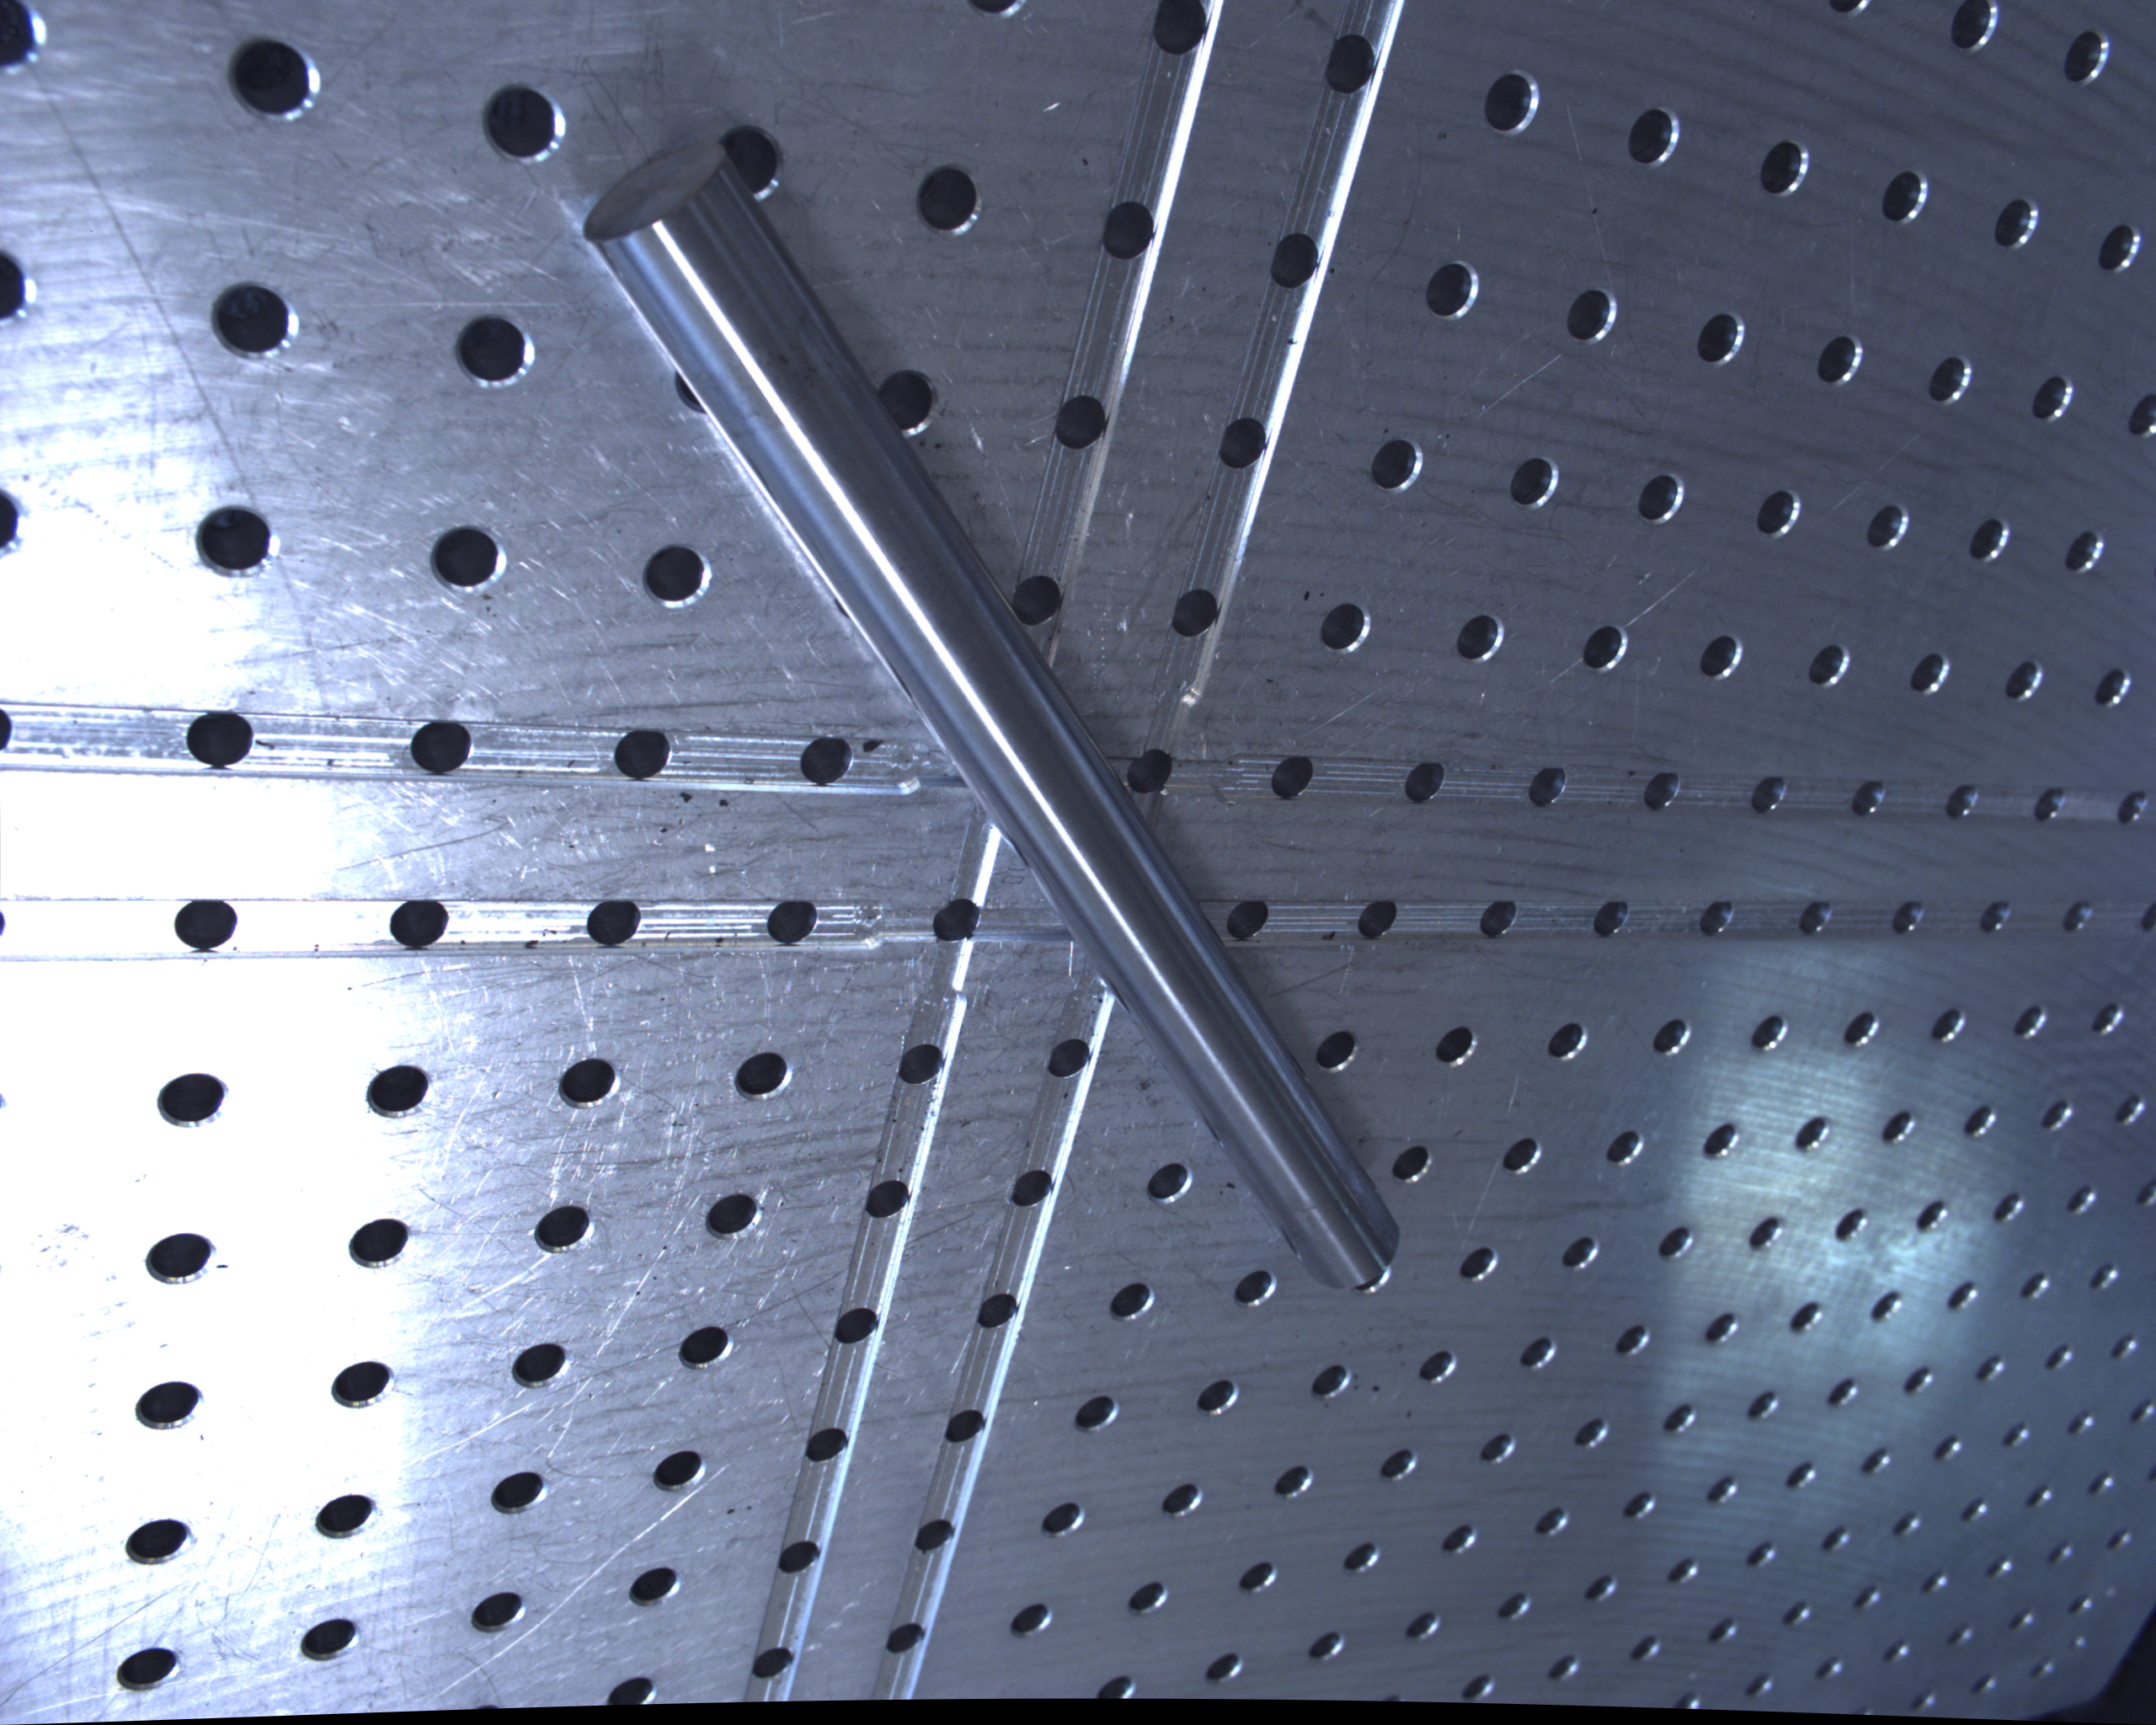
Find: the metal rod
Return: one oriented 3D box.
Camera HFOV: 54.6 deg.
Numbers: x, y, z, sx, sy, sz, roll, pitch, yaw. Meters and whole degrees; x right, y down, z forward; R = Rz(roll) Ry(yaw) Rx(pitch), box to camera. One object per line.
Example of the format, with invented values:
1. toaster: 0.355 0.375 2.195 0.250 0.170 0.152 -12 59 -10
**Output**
1. metal rod: 0.001 -0.005 0.408 0.025 0.025 0.300 -37 129 -4
